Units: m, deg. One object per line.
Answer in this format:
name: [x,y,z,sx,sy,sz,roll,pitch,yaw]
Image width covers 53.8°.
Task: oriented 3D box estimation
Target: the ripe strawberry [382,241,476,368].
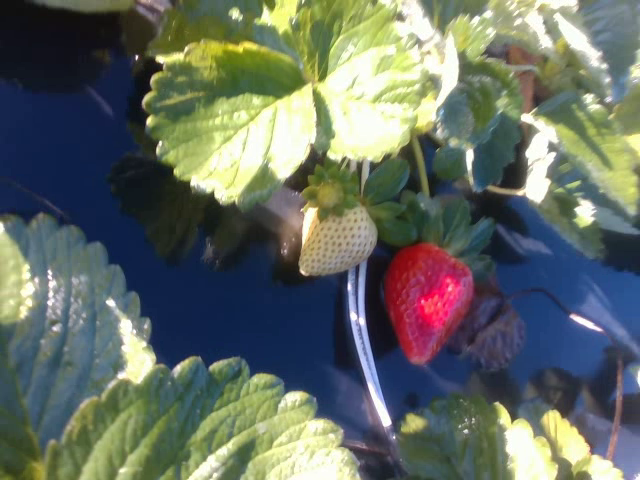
ripe strawberry: [0.062,0.032,0.313,0.040,0.080,0.063,-5,-47,27]
